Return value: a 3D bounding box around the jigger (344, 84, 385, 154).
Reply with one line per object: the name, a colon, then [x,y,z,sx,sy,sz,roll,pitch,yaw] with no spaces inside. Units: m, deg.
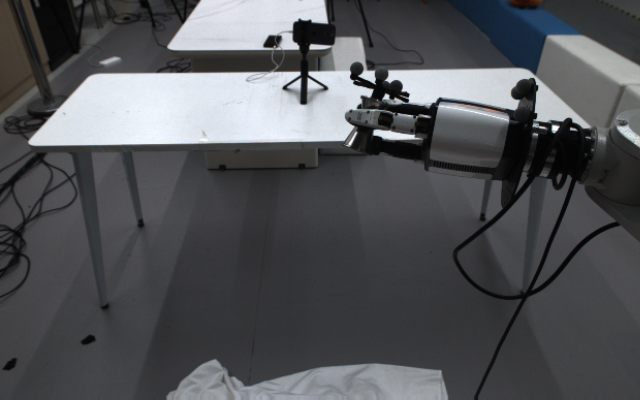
jigger: [0.058,-0.097,0.627,0.043,0.071,0.043,22,6,-2]
